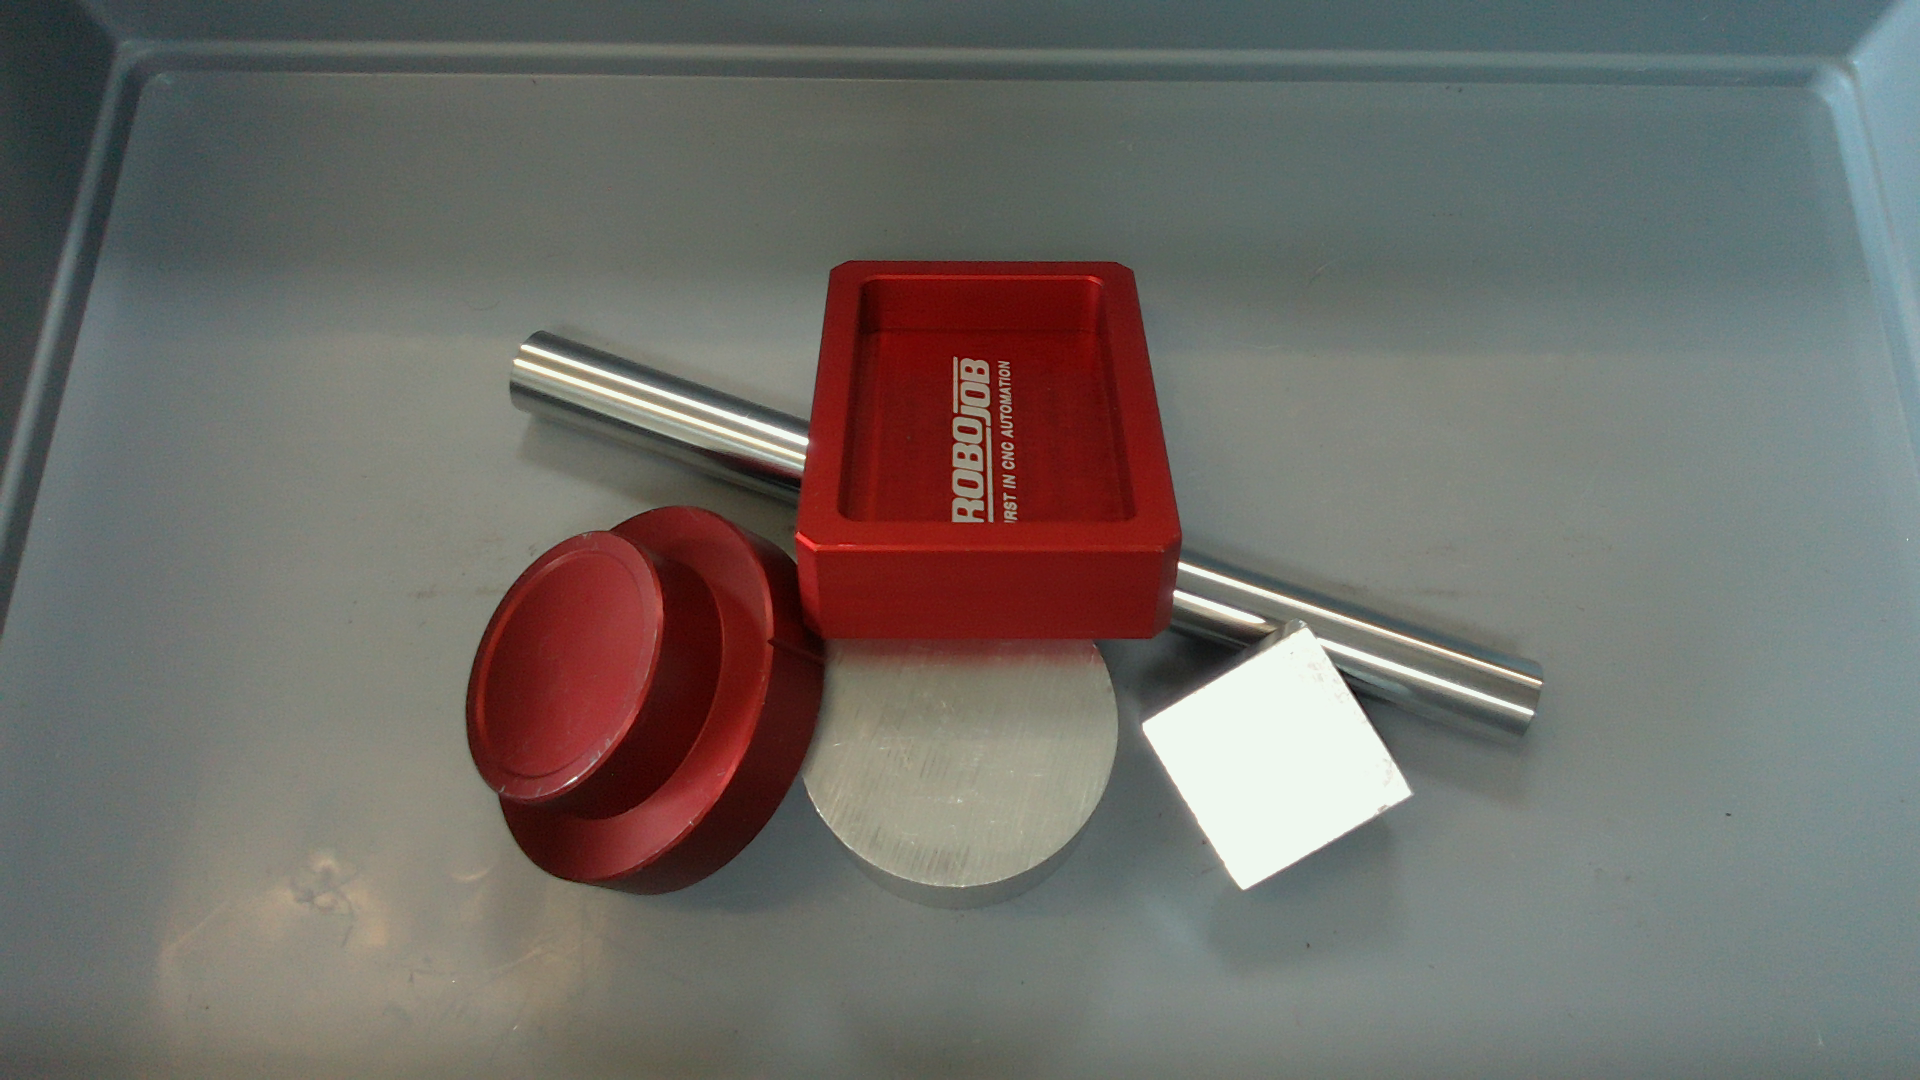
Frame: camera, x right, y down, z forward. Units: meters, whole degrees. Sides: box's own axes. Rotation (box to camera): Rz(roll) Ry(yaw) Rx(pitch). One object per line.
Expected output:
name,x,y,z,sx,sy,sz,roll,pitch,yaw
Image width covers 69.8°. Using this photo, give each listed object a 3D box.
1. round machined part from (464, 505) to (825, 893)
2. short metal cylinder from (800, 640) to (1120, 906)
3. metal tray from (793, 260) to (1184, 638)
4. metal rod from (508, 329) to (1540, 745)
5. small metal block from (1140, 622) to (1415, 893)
round machined part,-0.085,0.036,0.346,0.098,0.042,0.098,-15,61,29
short metal cylinder,-0.001,0.053,0.360,0.080,0.050,0.080,0,70,0
metal tray,0.006,-0.030,0.370,0.090,0.030,0.130,0,41,-1
metal rod,0.013,-0.003,0.394,0.300,0.025,0.025,19,71,7
small metal block,0.082,0.055,0.362,0.050,0.025,0.050,-32,88,6
